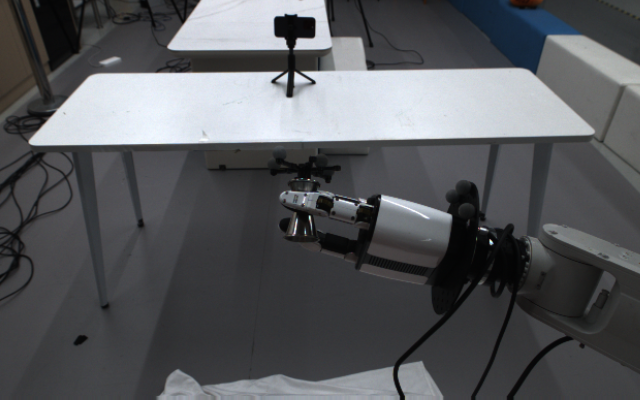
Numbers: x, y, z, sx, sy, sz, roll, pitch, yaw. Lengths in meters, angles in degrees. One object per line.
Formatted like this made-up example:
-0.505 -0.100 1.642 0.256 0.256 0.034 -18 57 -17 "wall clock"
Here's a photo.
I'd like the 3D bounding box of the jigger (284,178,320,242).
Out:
-0.020 0.012 0.570 0.043 0.043 0.071 2 76 1 "jigger"
